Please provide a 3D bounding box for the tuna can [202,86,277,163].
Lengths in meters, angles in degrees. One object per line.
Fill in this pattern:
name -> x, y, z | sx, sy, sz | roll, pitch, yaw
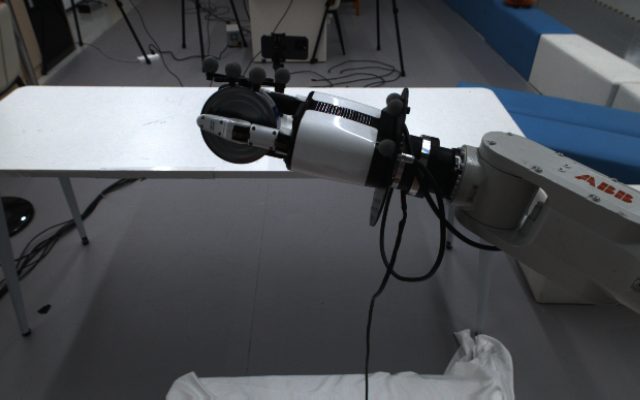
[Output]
tuna can -> -0.087, -0.087, 0.545 | 0.085, 0.085, 0.034 | 5, 18, 4
